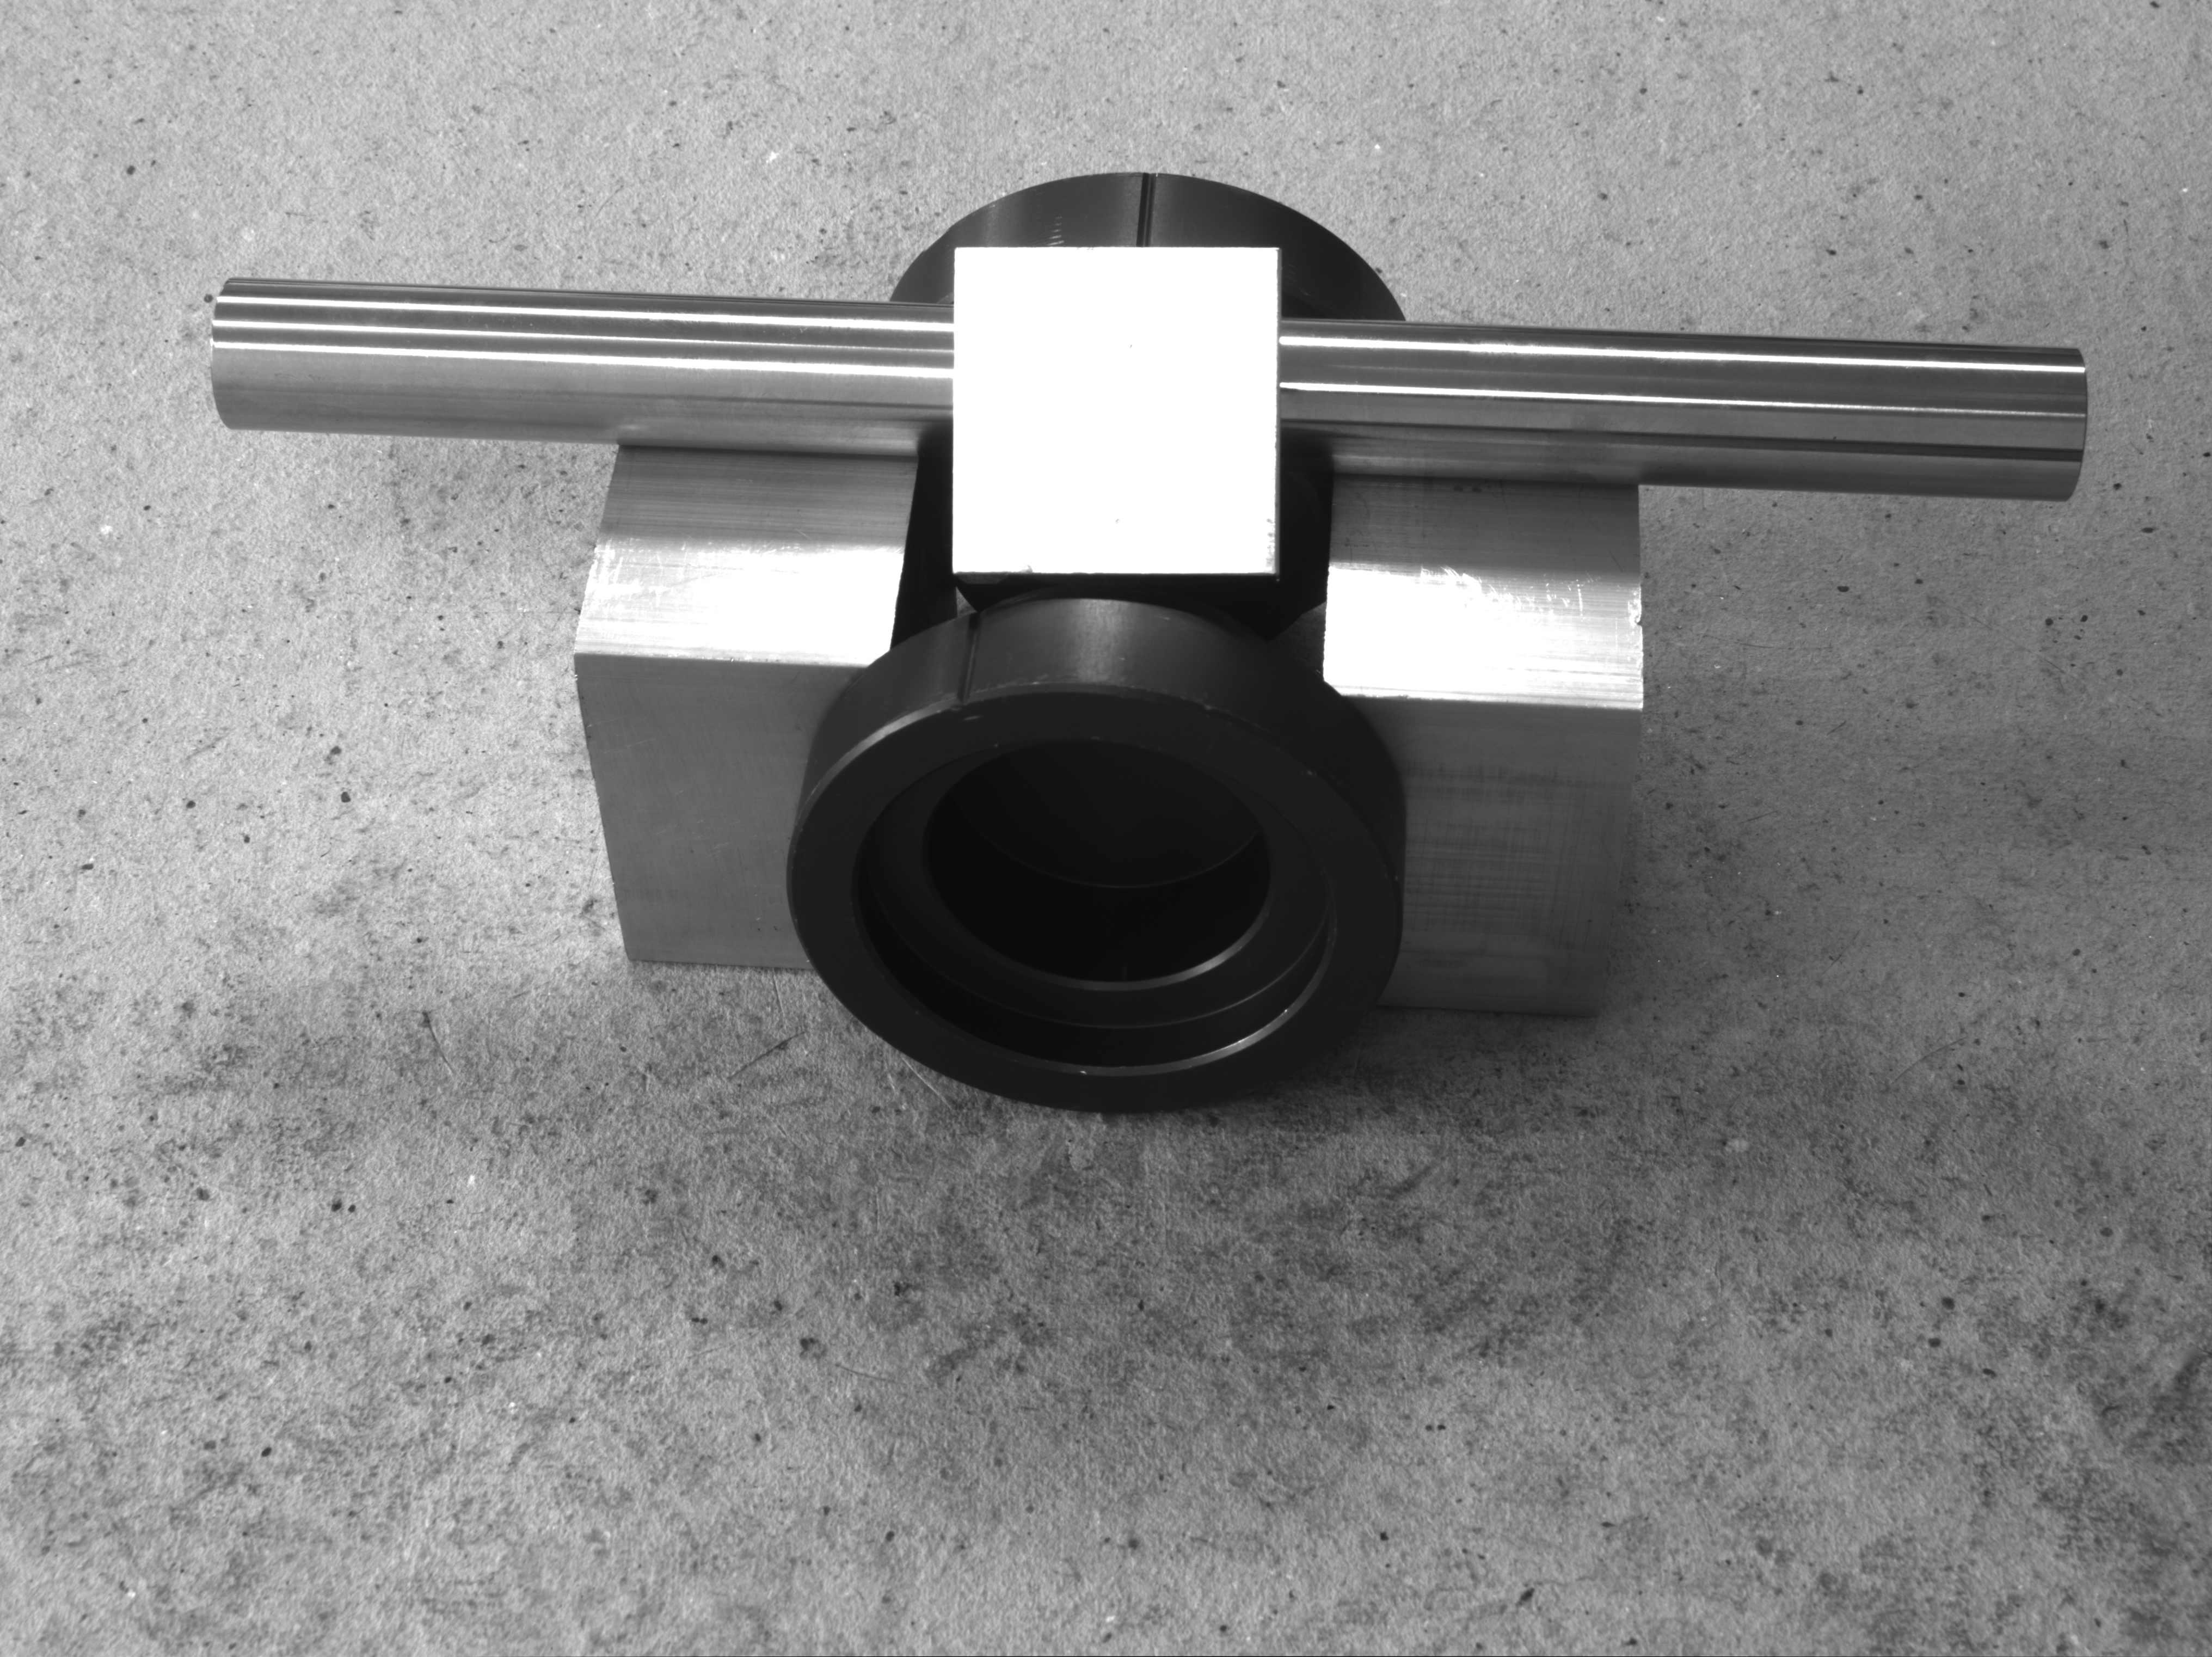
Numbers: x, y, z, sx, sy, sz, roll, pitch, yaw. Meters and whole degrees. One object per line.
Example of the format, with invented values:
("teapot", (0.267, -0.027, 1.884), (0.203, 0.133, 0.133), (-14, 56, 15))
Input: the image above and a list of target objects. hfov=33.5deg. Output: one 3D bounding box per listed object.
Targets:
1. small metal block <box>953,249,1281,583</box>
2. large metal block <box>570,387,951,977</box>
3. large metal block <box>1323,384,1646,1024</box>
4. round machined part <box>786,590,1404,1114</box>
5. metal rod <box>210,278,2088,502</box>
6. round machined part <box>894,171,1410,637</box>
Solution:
("small metal block", (0.002, -0.064, 0.574), (0.050, 0.025, 0.050), (0, 90, 3))
("large metal block", (-0.056, -0.031, 0.633), (0.050, 0.080, 0.080), (3, 50, 3))
("large metal block", (0.062, -0.024, 0.627), (0.050, 0.080, 0.080), (3, 50, 3))
("round machined part", (0.000, -0.001, 0.596), (0.098, 0.098, 0.042), (4, 45, 3))
("metal rod", (0.006, -0.072, 0.599), (0.300, 0.025, 0.025), (2, 50, 2))
("round machined part", (0.006, -0.065, 0.650), (0.098, 0.098, 0.042), (3, 51, 3))
